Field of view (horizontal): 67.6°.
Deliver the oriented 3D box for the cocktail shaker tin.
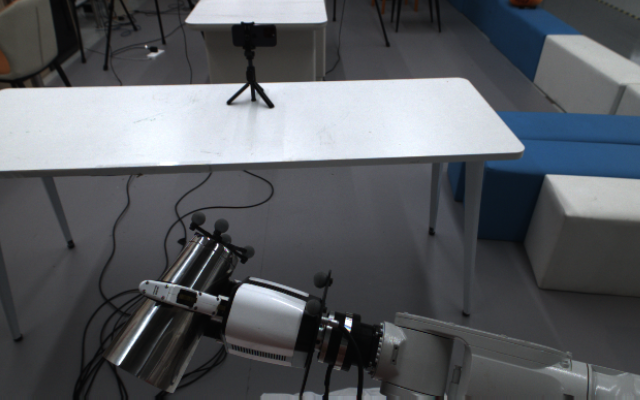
[{"bbox_3d":[-0.168,0.129,0.584,0.093,0.093,0.170,18,66,21],"label":"cocktail shaker tin"}]
